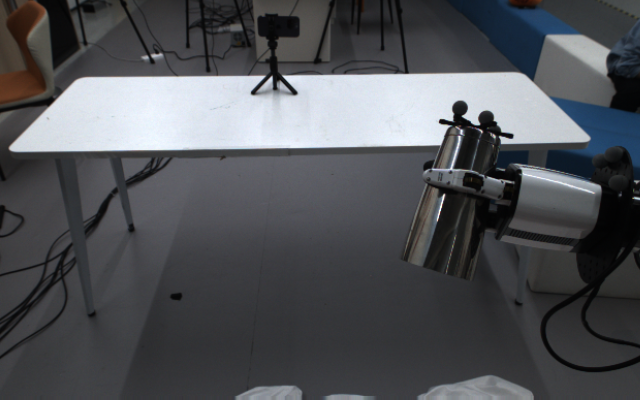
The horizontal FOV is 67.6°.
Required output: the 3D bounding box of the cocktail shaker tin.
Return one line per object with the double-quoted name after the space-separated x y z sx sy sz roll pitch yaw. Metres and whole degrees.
0.165 0.002 0.585 0.093 0.170 0.093 16 -2 1 "cocktail shaker tin"
